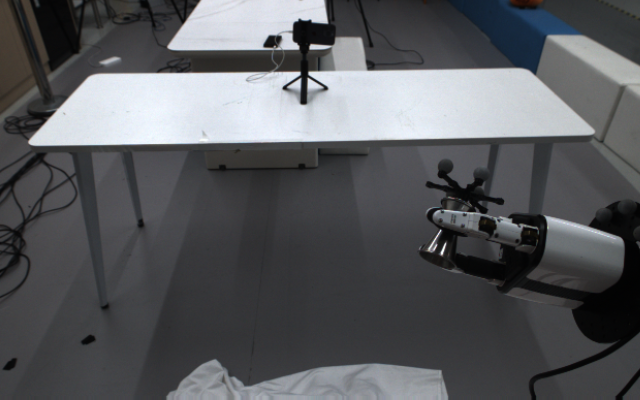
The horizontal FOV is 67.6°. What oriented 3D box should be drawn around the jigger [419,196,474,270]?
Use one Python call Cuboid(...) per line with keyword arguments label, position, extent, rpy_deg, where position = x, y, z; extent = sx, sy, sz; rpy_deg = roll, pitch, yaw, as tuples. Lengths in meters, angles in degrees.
Cuboid(label="jigger", position=(0.140, 0.033, 0.531), extent=(0.043, 0.043, 0.071), rpy_deg=(19, 72, 23))
